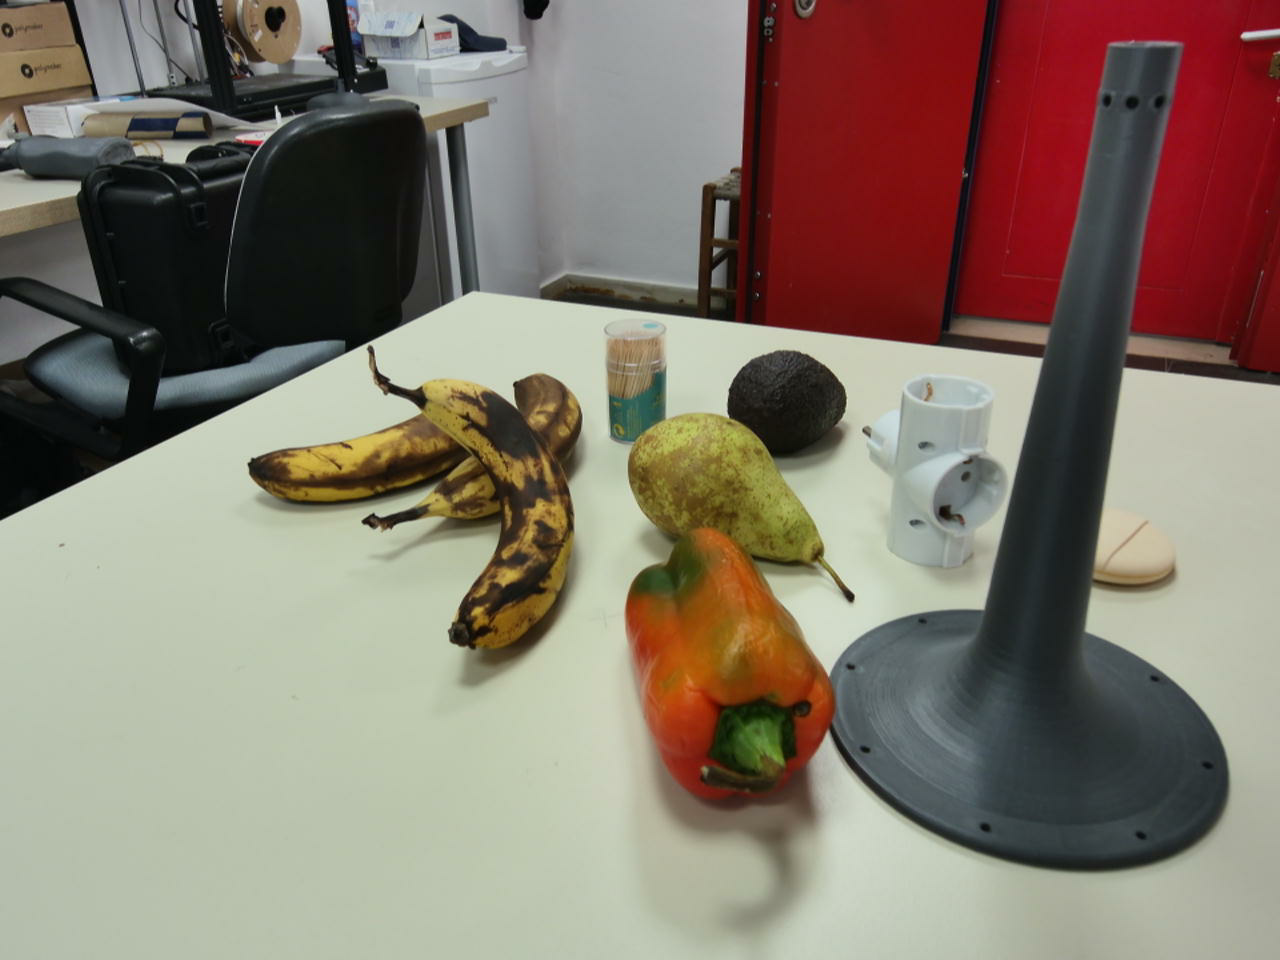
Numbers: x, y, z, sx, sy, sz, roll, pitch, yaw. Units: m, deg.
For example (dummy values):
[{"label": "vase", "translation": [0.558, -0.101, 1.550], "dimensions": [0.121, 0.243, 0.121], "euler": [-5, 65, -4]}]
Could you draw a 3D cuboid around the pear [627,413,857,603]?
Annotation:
[{"label": "pear", "translation": [0.056, 0.005, 0.529], "dimensions": [0.128, 0.075, 0.071], "euler": [8, 26, 15]}]
